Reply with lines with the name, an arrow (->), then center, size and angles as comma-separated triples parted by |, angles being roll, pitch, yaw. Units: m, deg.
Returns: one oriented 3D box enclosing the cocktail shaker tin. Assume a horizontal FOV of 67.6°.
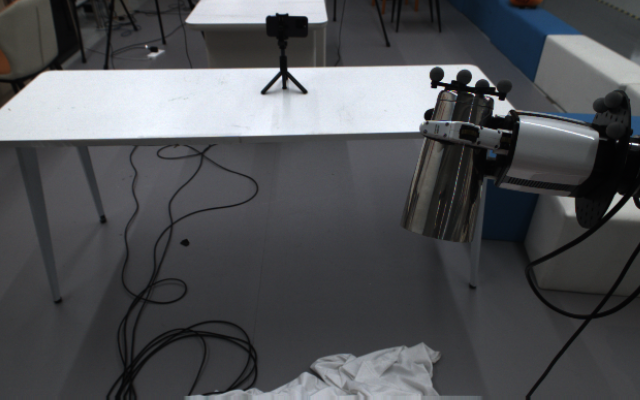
cocktail shaker tin -> 0.165, -0.045, 0.597 | 0.093, 0.170, 0.093 | 10, 9, -2
